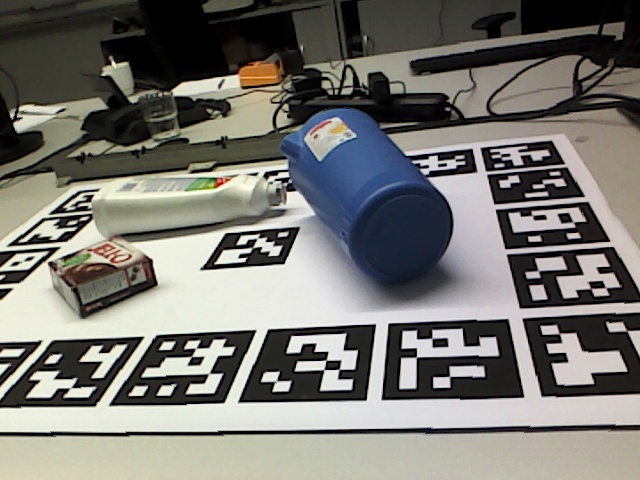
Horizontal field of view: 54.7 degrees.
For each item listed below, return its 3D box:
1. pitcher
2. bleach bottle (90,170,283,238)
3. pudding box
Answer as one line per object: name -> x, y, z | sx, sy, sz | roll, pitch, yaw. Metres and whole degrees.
pitcher -> 0.058, -0.039, 0.700 | 0.188, 0.133, 0.244 | 17, 22, -25
bleach bottle -> -0.178, -0.055, 0.855 | 0.251, 0.067, 0.103 | -4, 31, 8
pudding box -> -0.260, 0.036, 0.719 | 0.089, 0.038, 0.115 | -20, 29, -30
